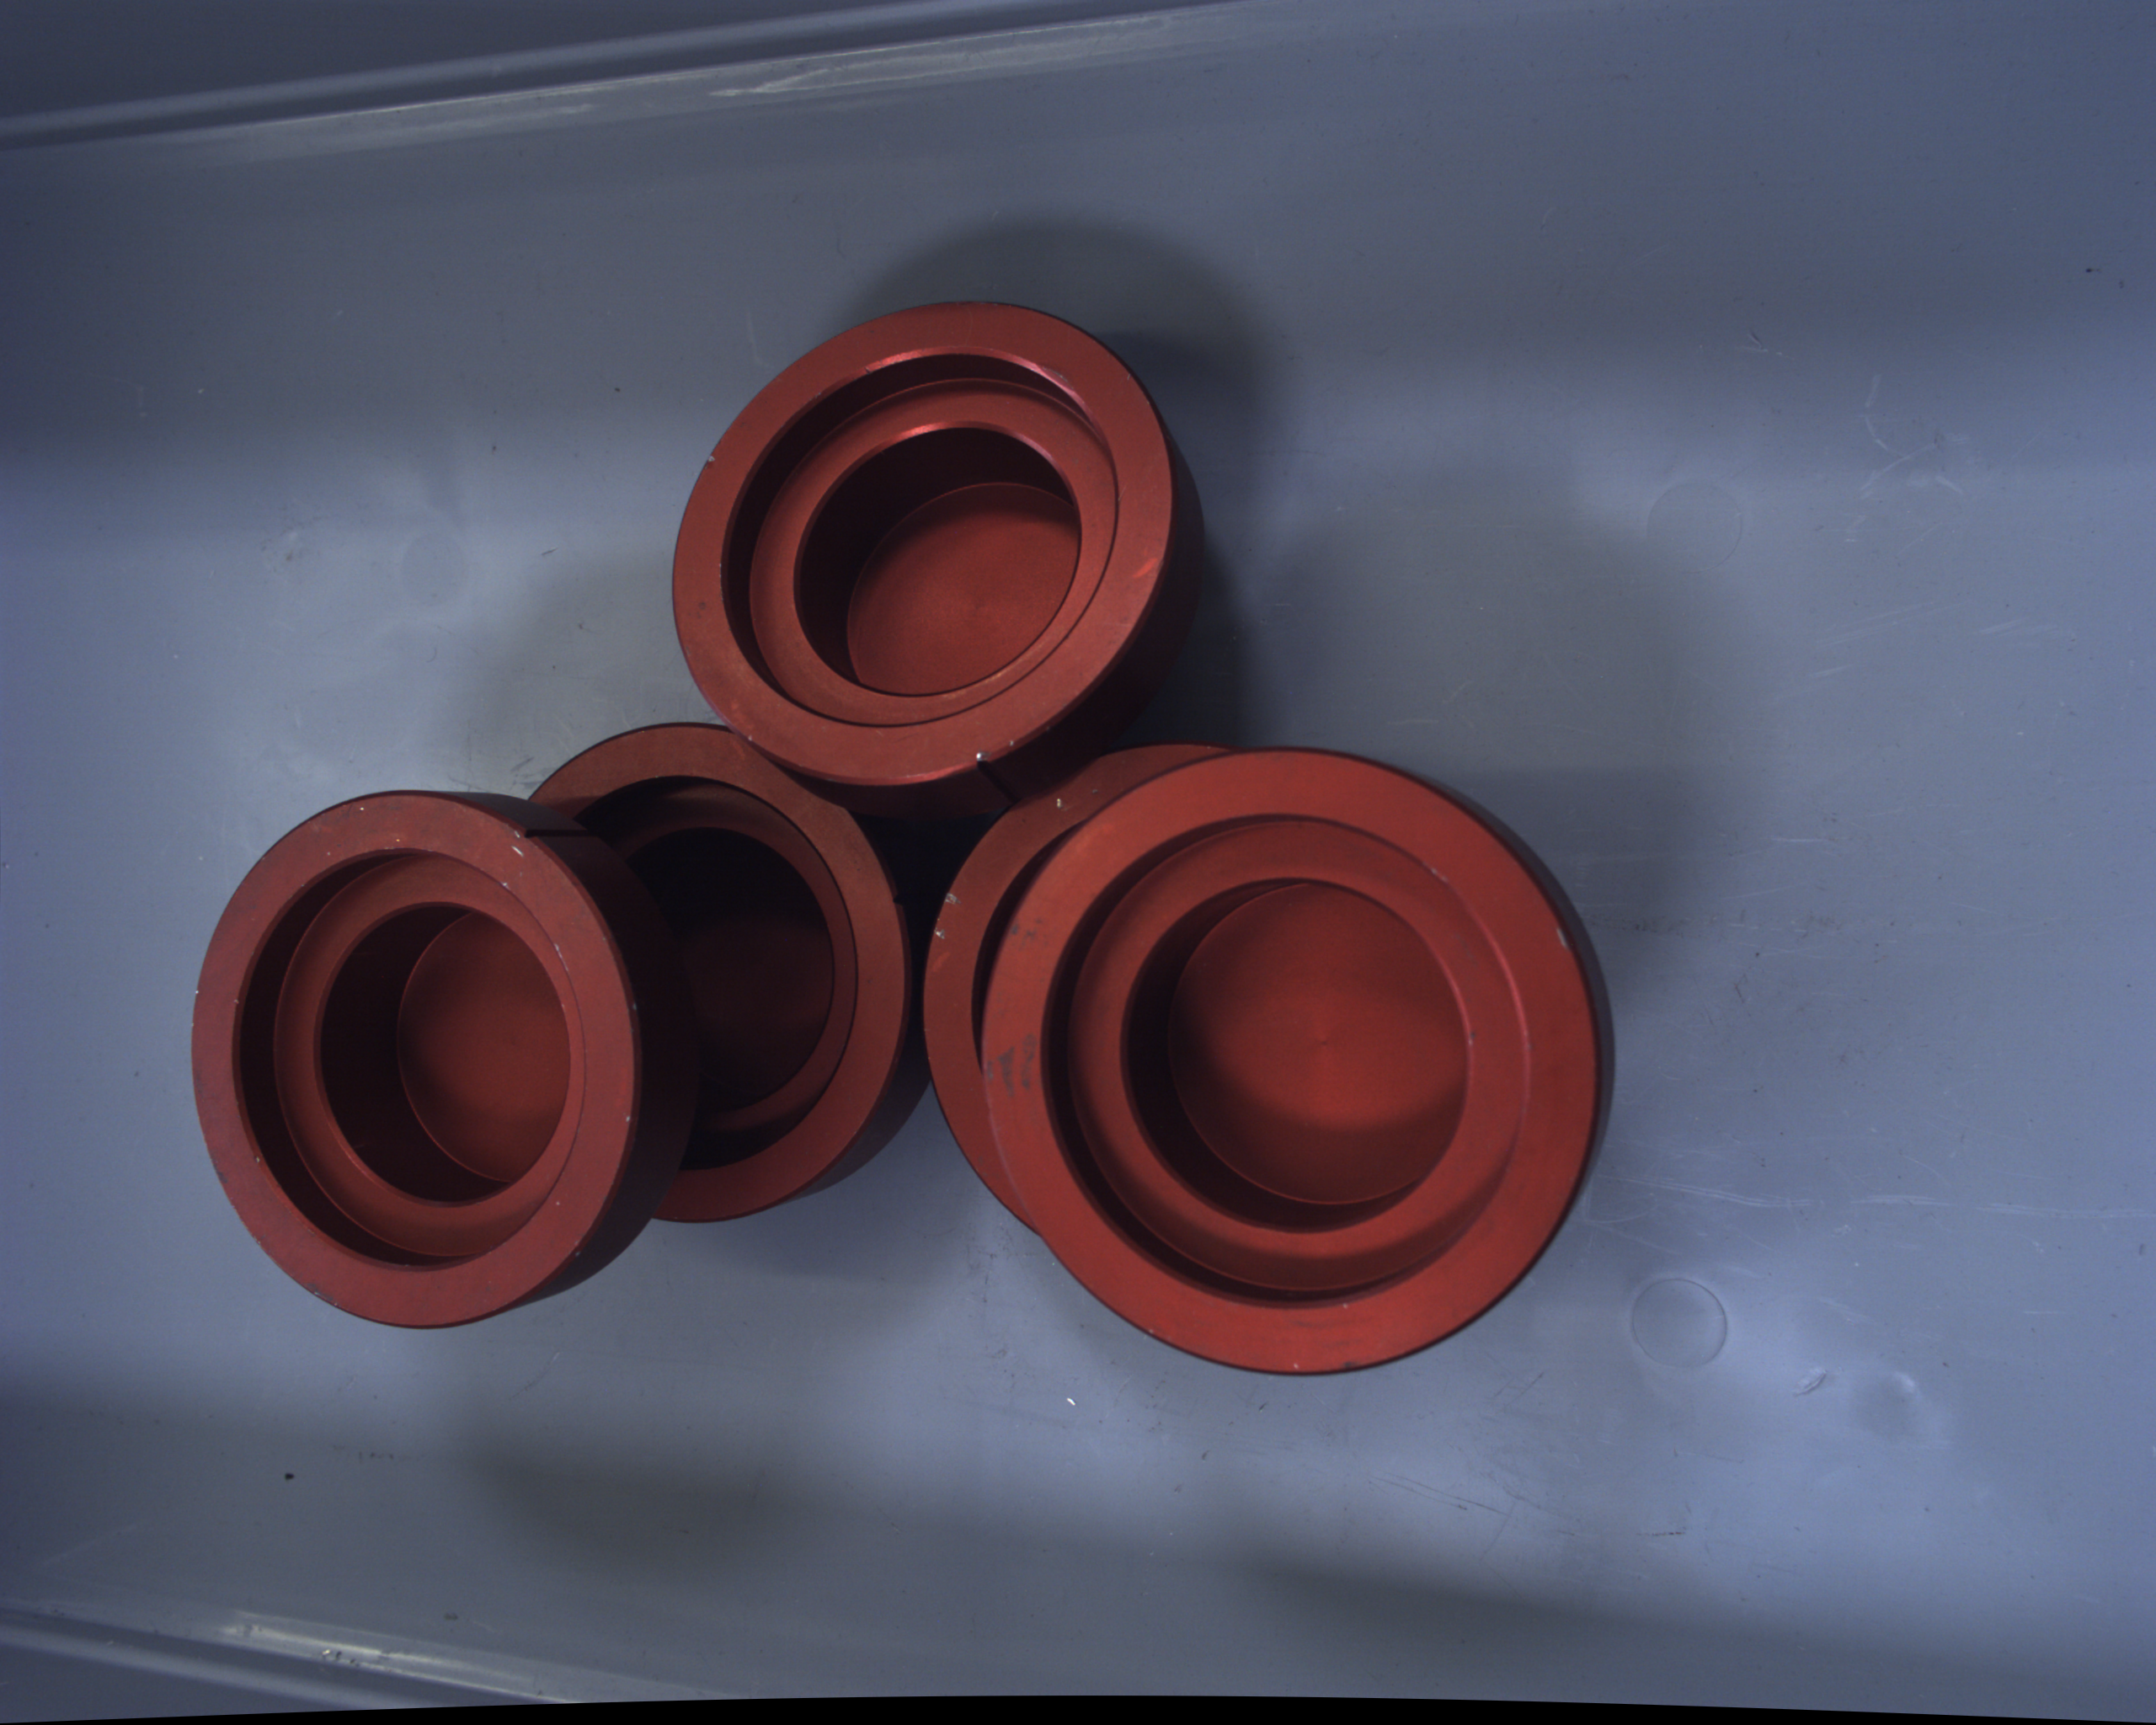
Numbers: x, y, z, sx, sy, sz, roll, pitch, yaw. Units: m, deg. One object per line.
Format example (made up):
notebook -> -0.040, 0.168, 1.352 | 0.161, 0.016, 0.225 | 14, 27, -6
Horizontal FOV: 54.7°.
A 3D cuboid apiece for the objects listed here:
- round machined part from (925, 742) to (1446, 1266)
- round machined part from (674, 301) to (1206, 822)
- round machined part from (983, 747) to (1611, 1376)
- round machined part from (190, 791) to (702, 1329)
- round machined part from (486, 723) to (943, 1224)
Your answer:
round machined part -> 0.025, 0.027, 0.392 | 0.098, 0.042, 0.097 | 0, 90, 20
round machined part -> -0.023, -0.053, 0.397 | 0.098, 0.042, 0.098 | -6, 70, 16
round machined part -> 0.038, 0.031, 0.342 | 0.098, 0.042, 0.097 | 0, 90, 20
round machined part -> -0.114, 0.035, 0.396 | 0.098, 0.042, 0.097 | 0, 90, 20
round machined part -> -0.070, 0.021, 0.425 | 0.098, 0.042, 0.097 | 0, 90, 20
